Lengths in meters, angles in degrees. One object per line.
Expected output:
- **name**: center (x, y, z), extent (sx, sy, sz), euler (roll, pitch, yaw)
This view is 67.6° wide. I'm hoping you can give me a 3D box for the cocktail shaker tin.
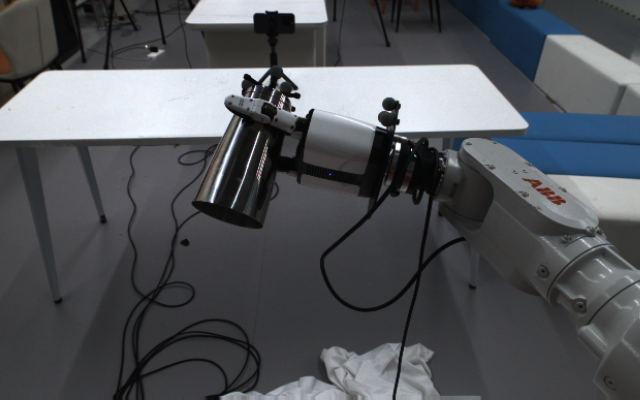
- **cocktail shaker tin**: center (-0.091, -0.060, 0.626), extent (0.093, 0.093, 0.170), euler (12, 72, 14)
